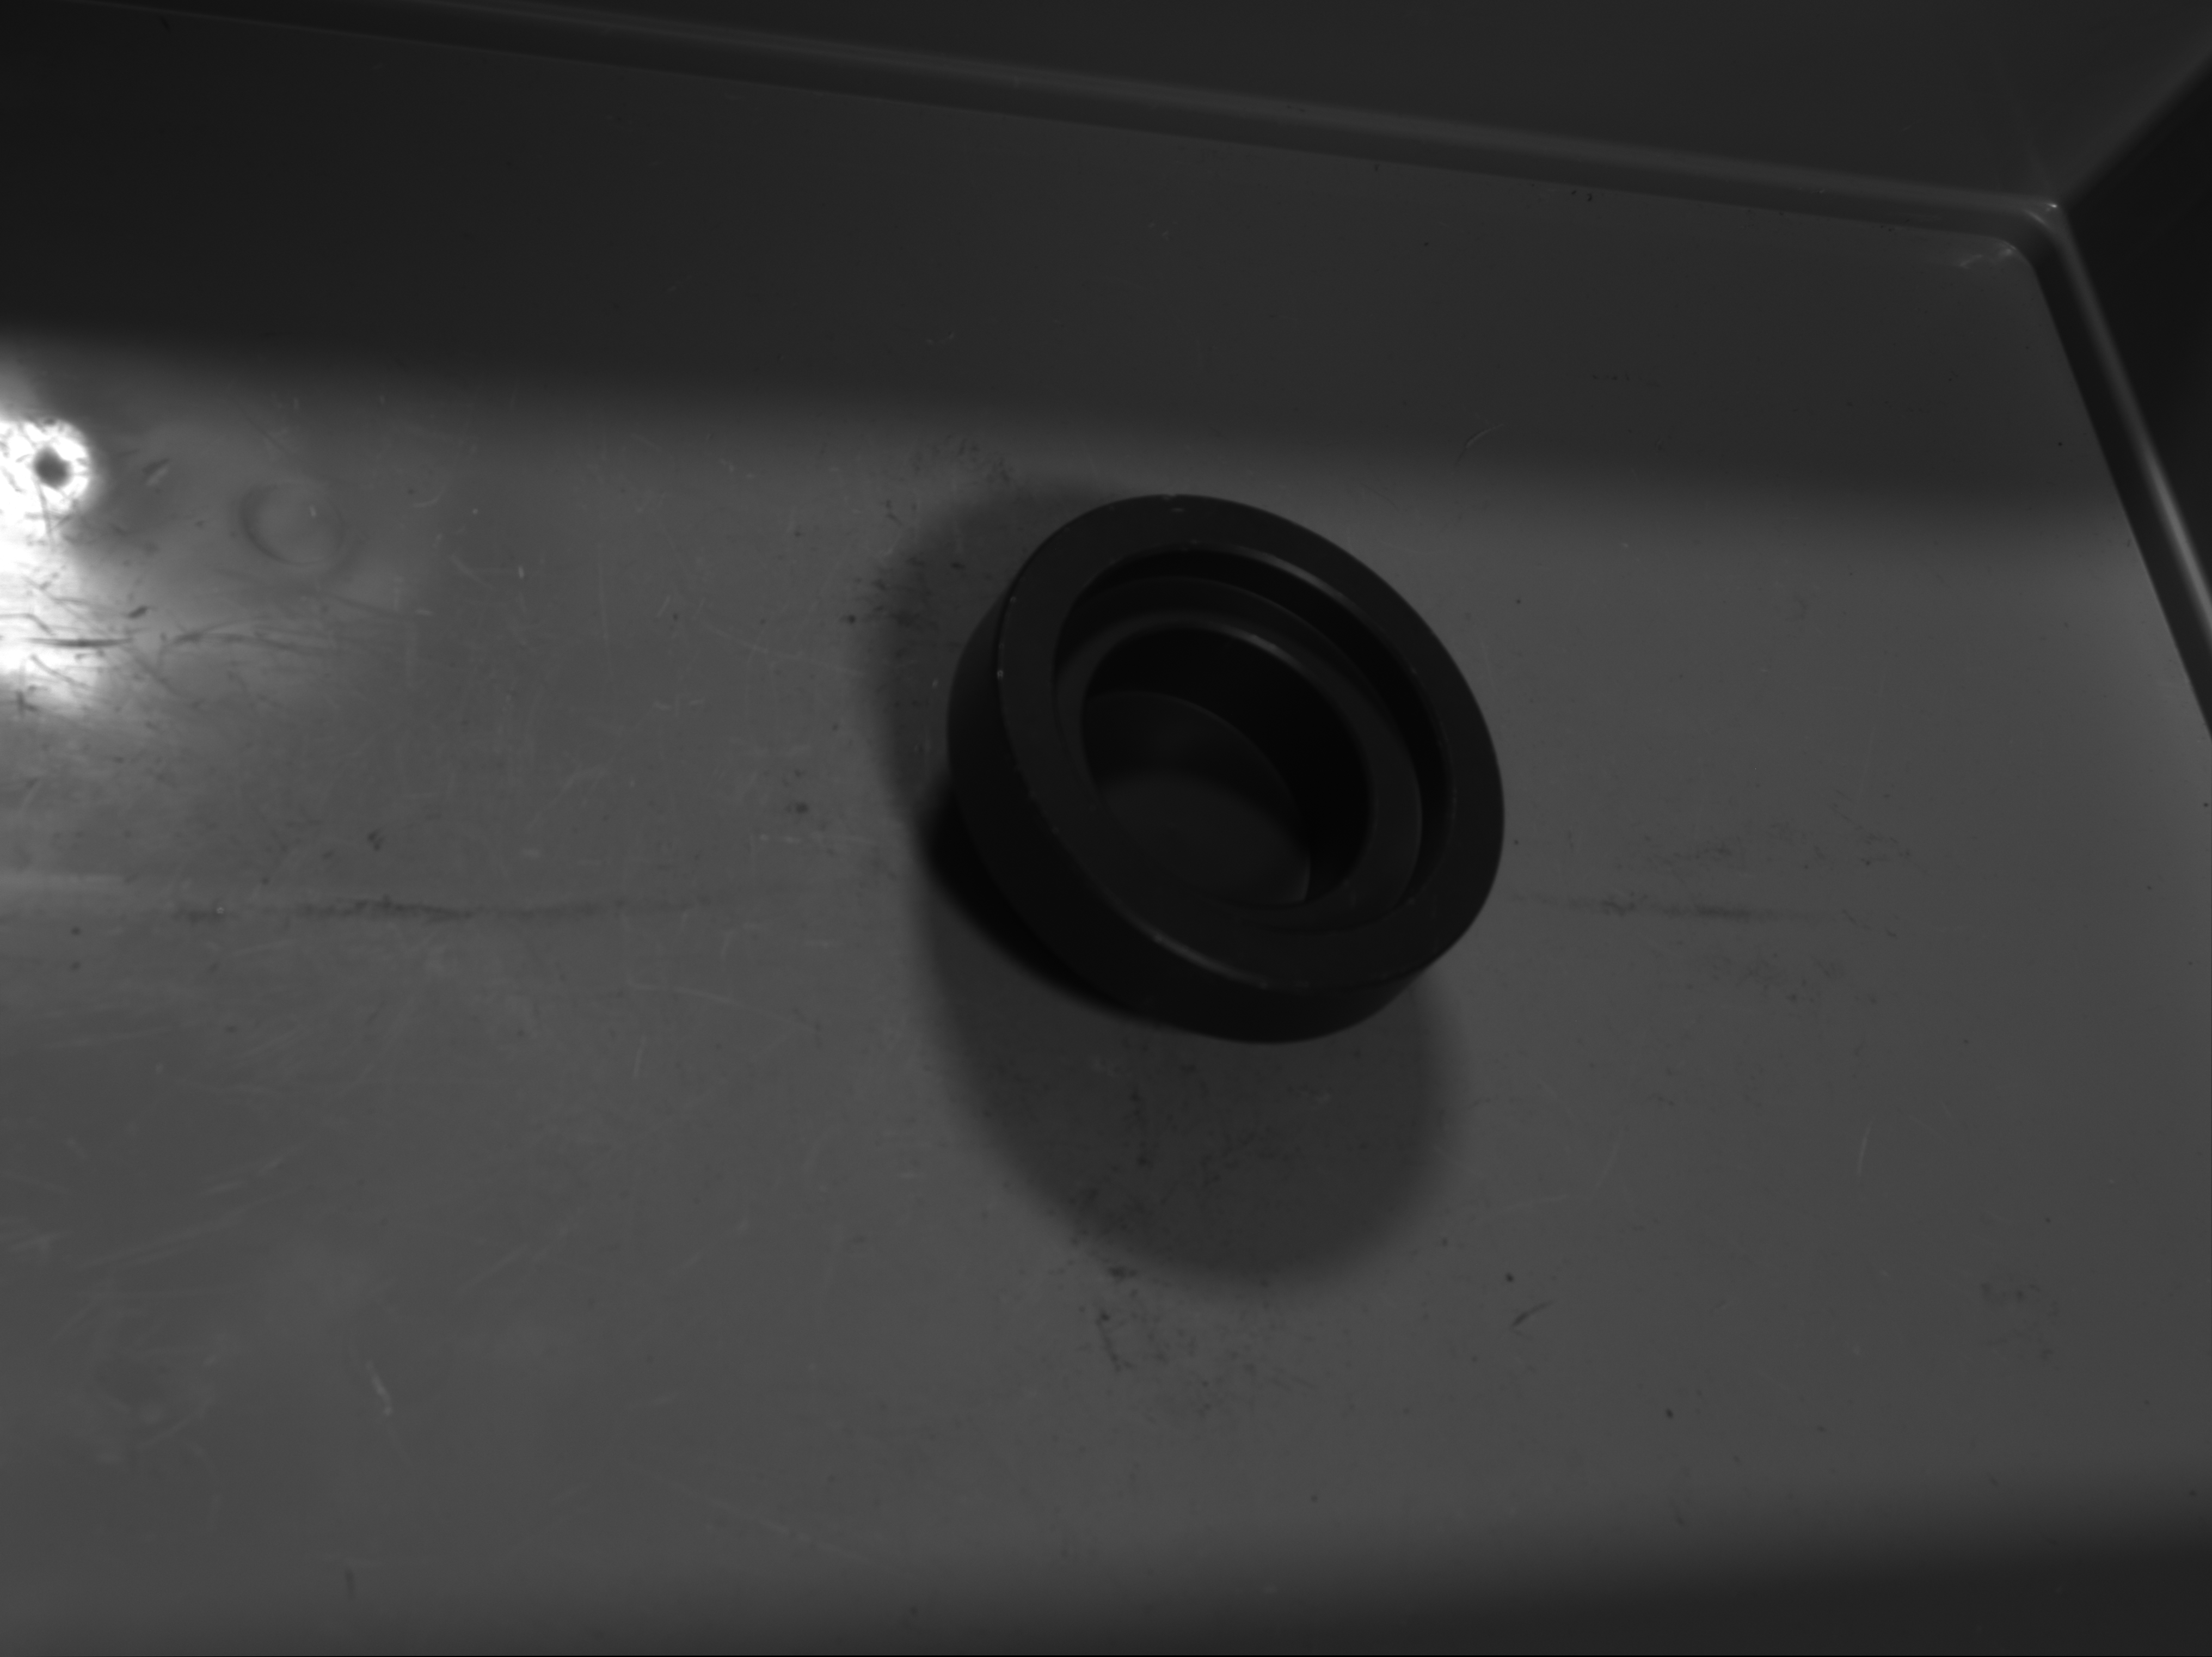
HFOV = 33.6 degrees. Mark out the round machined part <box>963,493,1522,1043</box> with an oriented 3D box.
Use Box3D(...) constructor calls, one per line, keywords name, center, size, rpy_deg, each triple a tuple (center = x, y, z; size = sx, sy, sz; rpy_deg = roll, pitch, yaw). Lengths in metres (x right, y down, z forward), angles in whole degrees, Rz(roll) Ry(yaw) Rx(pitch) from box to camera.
Box3D(name="round machined part", center=(0.020, -0.006, 0.639), size=(0.098, 0.042, 0.098), rpy_deg=(14, 56, -21))
